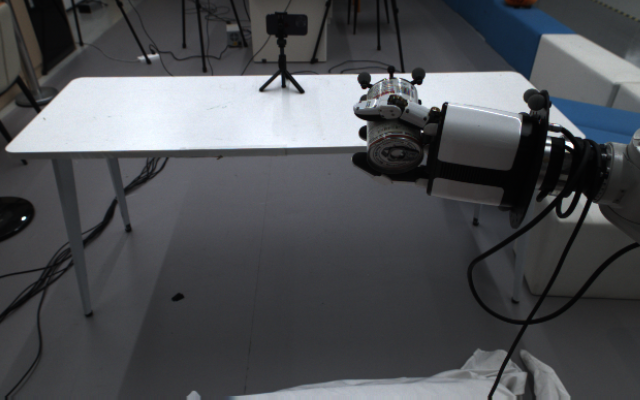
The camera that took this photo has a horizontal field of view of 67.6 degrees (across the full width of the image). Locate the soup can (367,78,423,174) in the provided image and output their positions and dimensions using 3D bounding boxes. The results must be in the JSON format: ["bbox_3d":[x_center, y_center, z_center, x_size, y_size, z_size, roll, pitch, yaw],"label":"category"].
[{"bbox_3d":[0.092,-0.093,0.597,0.067,0.067,0.101,3,57,1],"label":"soup can"}]
